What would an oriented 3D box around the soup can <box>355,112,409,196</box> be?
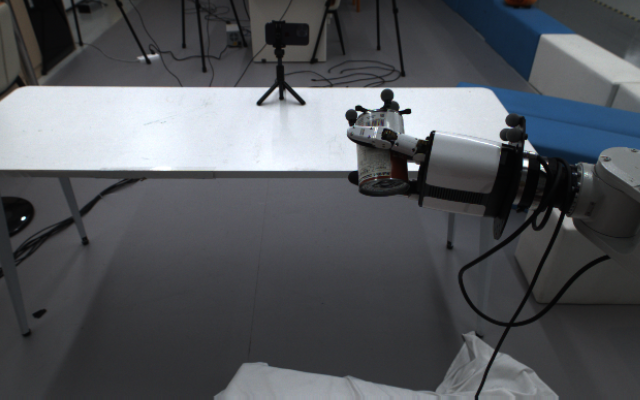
[{"bbox_3d":[0.082,-0.065,0.654,0.067,0.067,0.101,-1,72,-4],"label":"soup can"}]
